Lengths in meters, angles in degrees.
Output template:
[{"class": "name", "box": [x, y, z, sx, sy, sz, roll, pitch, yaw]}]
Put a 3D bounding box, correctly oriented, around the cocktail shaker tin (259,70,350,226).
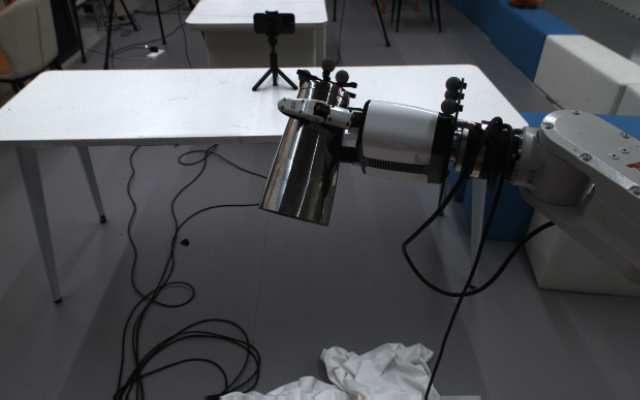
[{"class": "cocktail shaker tin", "box": [-0.012, -0.062, 0.620, 0.093, 0.170, 0.093, 15, -5, 1]}]
